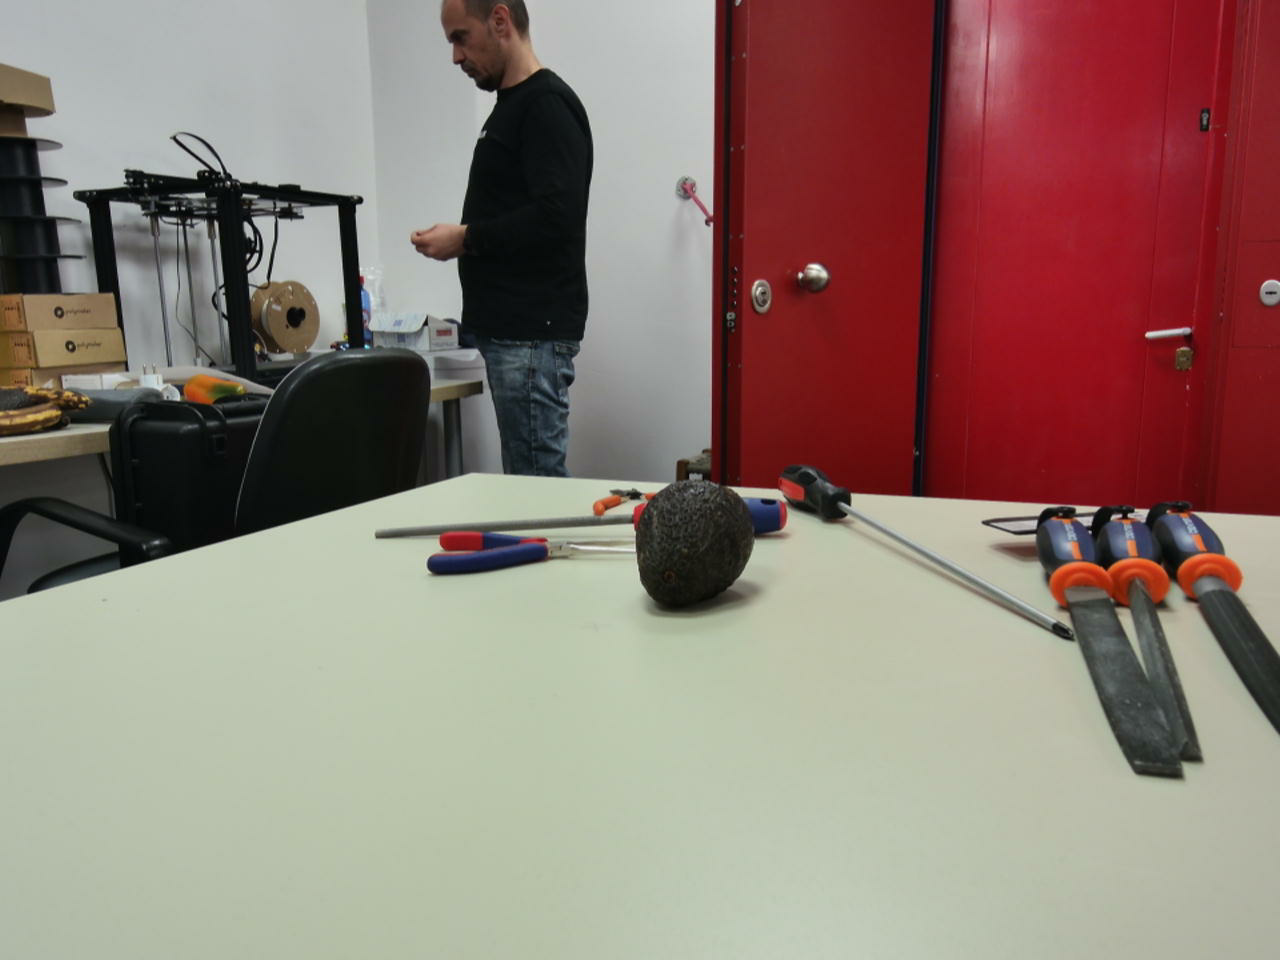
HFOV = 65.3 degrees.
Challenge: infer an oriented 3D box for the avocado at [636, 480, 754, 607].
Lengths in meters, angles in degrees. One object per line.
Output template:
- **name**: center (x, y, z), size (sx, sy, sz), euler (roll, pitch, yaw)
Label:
- **avocado**: center (0.029, 0.035, 0.594), size (0.090, 0.069, 0.070), euler (-6, 9, -41)
